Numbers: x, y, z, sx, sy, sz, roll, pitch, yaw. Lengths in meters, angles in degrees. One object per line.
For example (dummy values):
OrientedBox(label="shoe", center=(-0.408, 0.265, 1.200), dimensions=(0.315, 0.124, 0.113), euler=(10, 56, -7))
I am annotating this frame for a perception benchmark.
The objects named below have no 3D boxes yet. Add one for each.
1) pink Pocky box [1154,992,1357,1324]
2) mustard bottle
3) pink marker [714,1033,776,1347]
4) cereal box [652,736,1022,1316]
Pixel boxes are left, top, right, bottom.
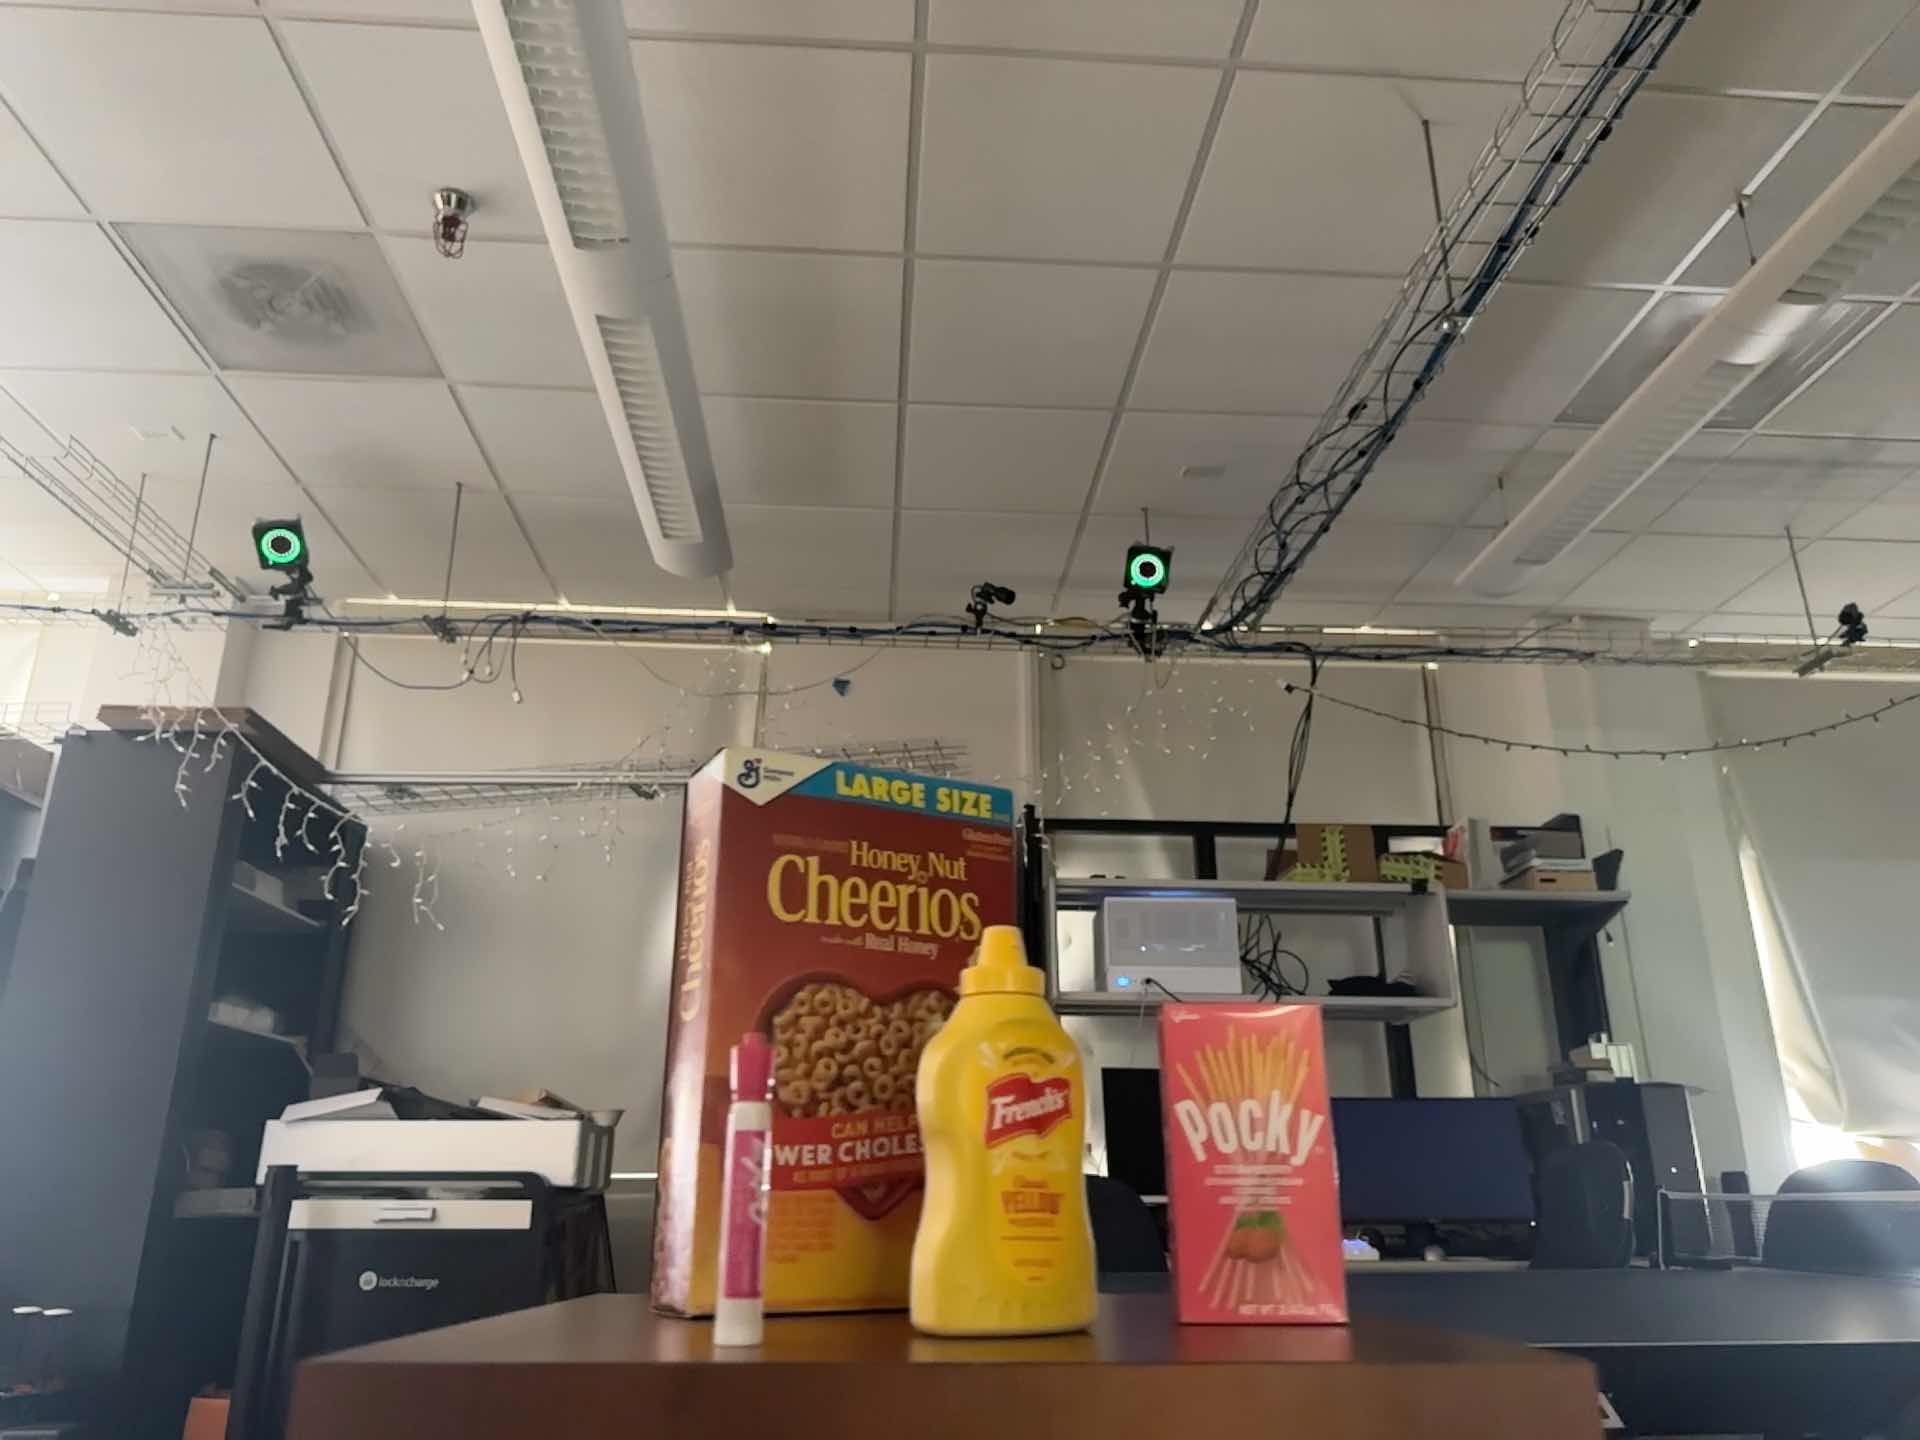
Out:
OrientedBox(label="pink Pocky box", center=(0.145, 0.214, 0.672), dimensions=(0.084, 0.154, 0.029), euler=(1, -18, -5))
OrientedBox(label="mustard bottle", center=(0.018, 0.182, 0.622), dimensions=(0.092, 0.184, 0.054), euler=(8, -19, -27))
OrientedBox(label="pink marker", center=(-0.088, 0.191, 0.556), dimensions=(0.020, 0.121, 0.020), euler=(0, -19, 0))
OrientedBox(label="cereal box", center=(-0.063, 0.173, 0.785), dimensions=(0.195, 0.296, 0.065), euler=(12, -21, -30))
